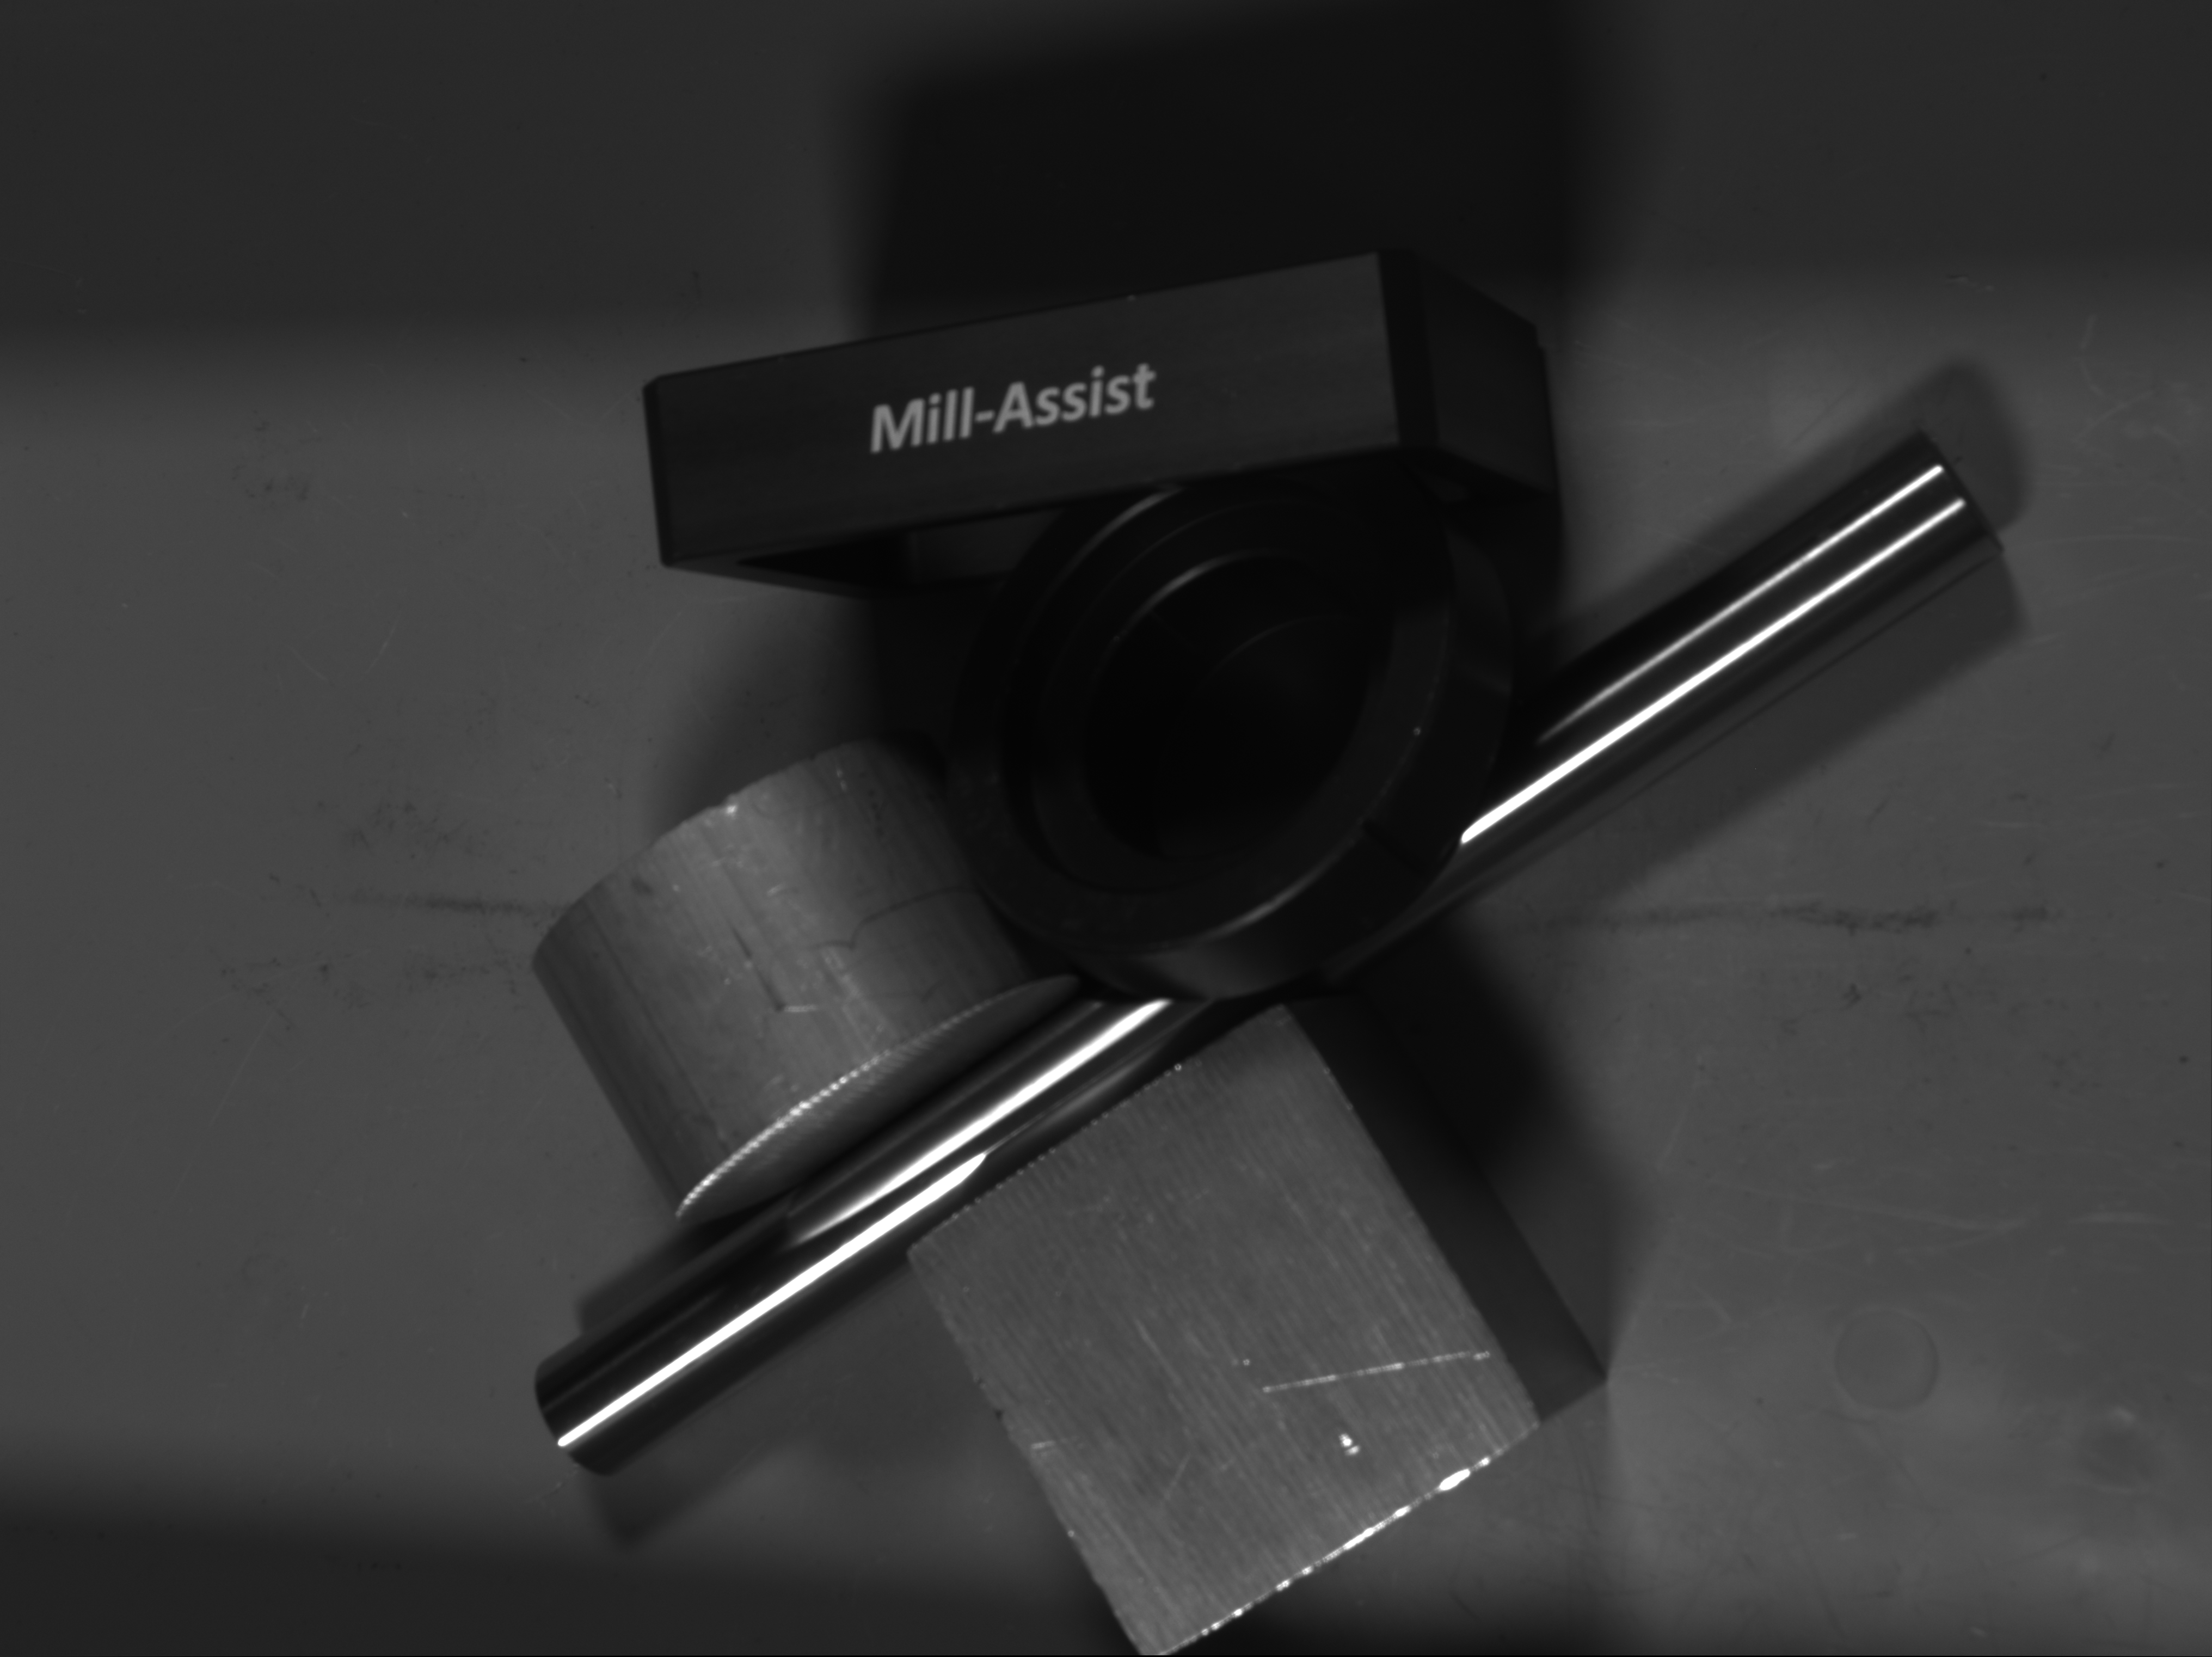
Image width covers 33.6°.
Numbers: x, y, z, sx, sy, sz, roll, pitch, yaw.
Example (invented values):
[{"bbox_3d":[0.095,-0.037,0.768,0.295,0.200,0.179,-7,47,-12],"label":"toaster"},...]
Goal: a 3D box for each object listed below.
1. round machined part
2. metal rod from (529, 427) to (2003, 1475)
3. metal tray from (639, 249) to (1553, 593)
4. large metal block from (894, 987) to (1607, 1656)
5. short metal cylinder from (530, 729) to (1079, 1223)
[{"bbox_3d":[0.025,-0.016,0.611,0.098,0.042,0.098,-17,56,28],"label":"round machined part"},{"bbox_3d":[0.020,0.027,0.636,0.300,0.025,0.025,-35,79,16],"label":"metal rod"},{"bbox_3d":[0.000,-0.065,0.608,0.130,0.090,0.030,-7,87,19],"label":"metal tray"},{"bbox_3d":[0.025,0.082,0.619,0.080,0.050,0.080,-35,79,16],"label":"large metal block"},{"bbox_3d":[-0.052,0.026,0.632,0.080,0.080,0.050,-35,79,16],"label":"short metal cylinder"}]
